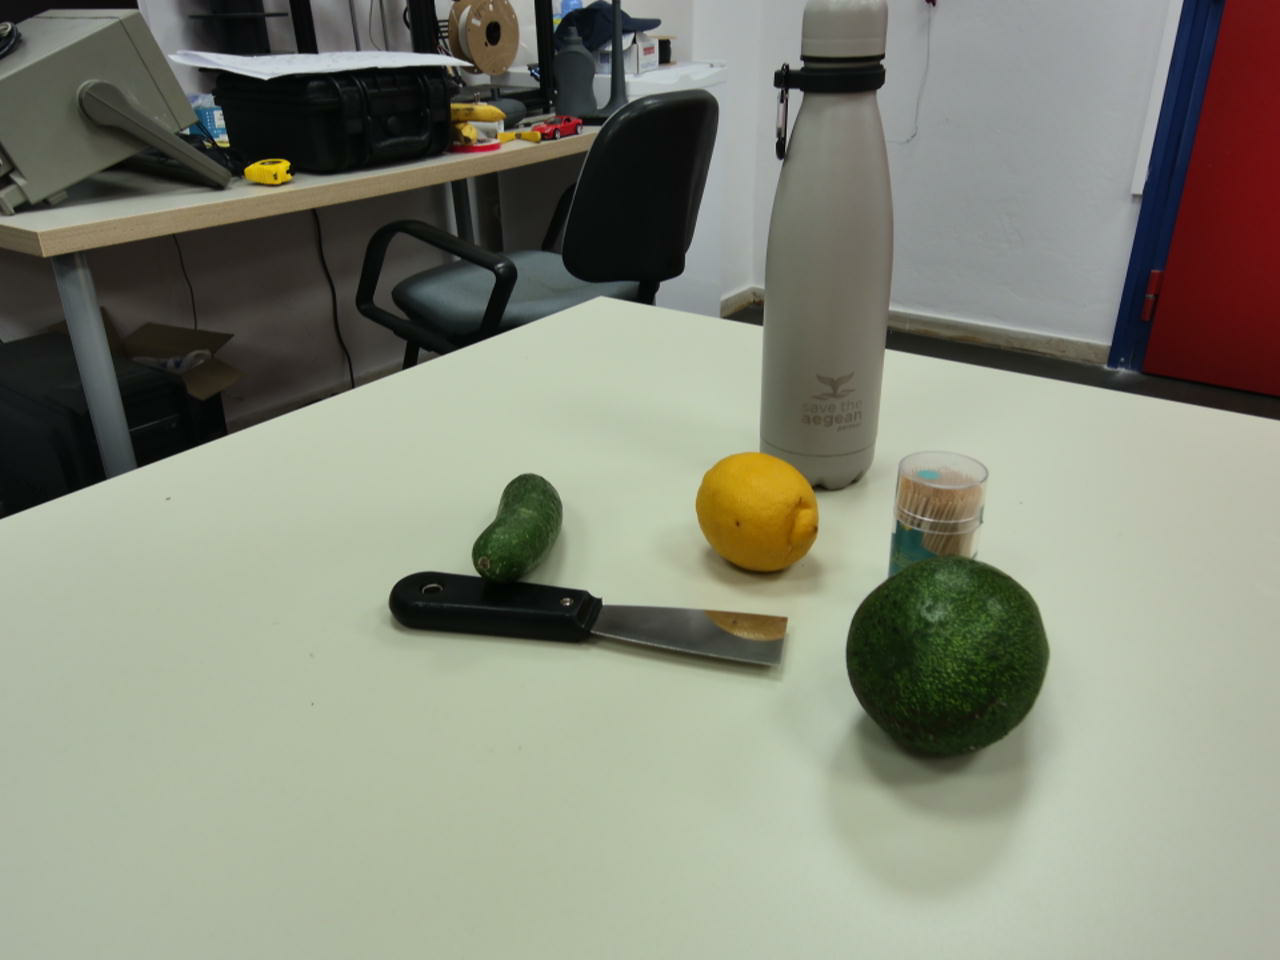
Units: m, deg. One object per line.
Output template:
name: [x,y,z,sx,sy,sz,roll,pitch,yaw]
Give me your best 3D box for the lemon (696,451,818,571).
lemon: [0.061,0.017,0.522,0.061,0.059,0.067,-4,25,-10]
